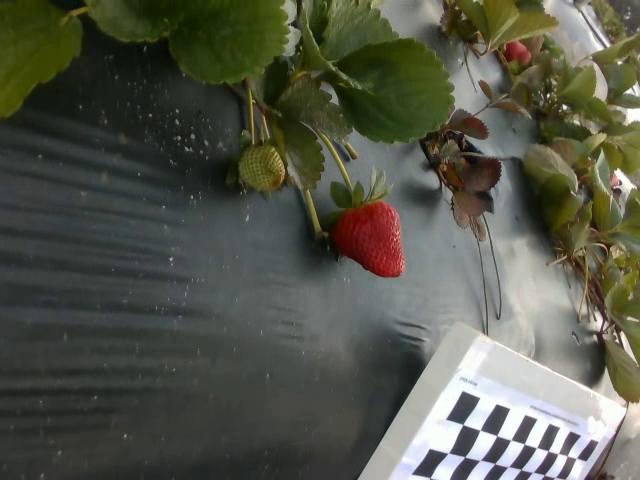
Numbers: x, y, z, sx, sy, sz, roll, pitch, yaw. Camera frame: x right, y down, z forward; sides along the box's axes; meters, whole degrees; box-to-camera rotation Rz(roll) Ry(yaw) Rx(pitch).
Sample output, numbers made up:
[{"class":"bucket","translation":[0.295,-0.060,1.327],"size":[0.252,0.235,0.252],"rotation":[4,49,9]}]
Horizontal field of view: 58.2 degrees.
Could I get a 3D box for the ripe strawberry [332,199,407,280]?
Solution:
[{"class":"ripe strawberry","translation":[0.032,0.001,0.321],"size":[0.045,0.055,0.042],"rotation":[-25,-31,-19]}]
